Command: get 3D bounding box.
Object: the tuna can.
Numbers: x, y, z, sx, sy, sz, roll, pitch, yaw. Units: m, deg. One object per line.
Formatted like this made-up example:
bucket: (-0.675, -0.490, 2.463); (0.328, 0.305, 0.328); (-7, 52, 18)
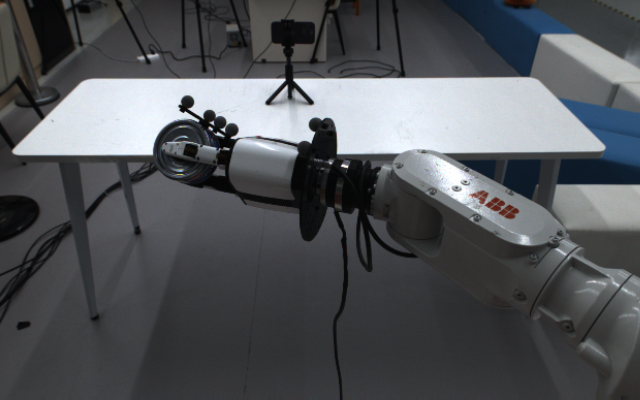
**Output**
tuna can: (-0.181, -0.065, 0.658); (0.085, 0.085, 0.034); (12, -4, 14)
